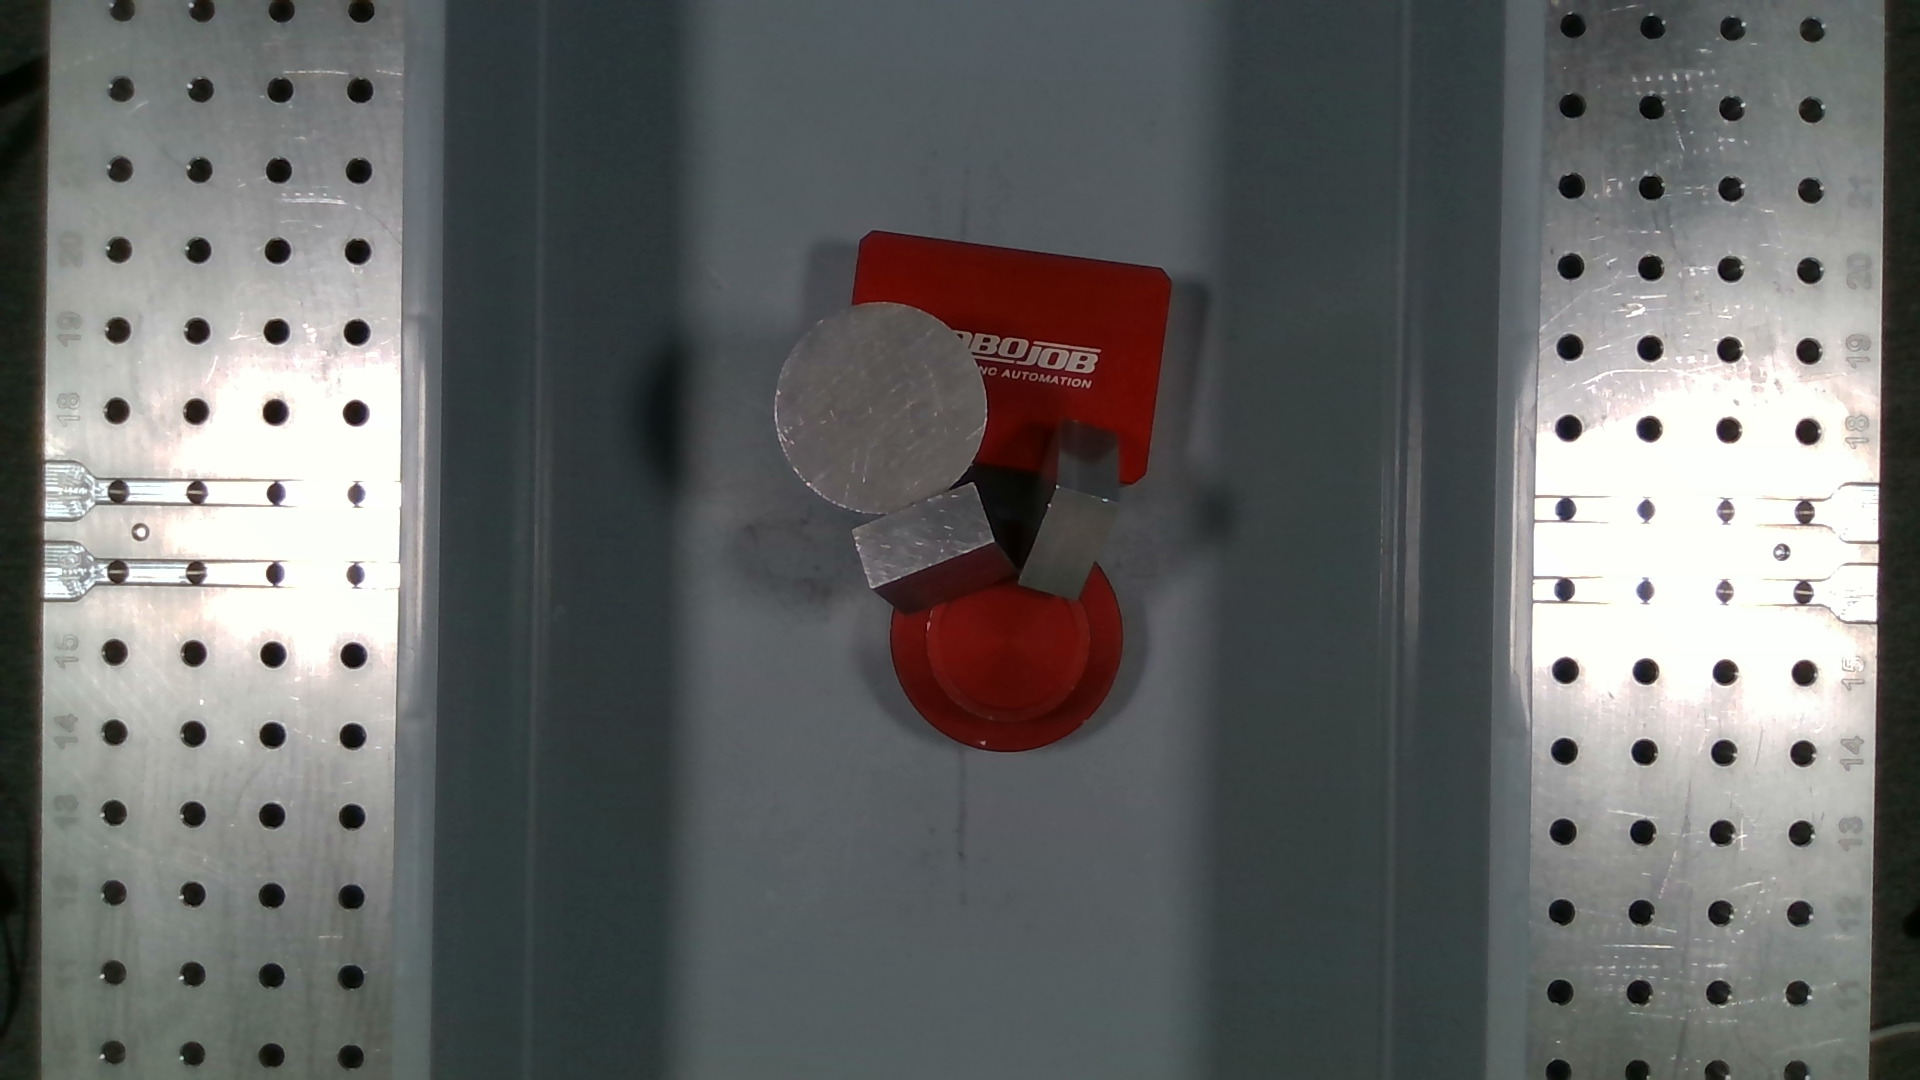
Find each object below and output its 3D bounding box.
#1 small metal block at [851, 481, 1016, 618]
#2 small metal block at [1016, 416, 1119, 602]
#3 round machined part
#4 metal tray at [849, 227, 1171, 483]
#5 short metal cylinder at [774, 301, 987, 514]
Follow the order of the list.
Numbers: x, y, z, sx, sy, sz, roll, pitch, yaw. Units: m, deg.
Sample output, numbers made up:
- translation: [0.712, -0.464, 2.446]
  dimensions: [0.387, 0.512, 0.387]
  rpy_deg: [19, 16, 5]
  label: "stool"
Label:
- translation: [-0.009, 0.005, 0.534]
  dimensions: [0.050, 0.050, 0.025]
  rpy_deg: [-21, 72, 6]
  label: "small metal block"
- translation: [0.043, -0.013, 0.548]
  dimensions: [0.025, 0.050, 0.050]
  rpy_deg: [15, 127, -6]
  label: "small metal block"
- translation: [0.019, 0.041, 0.577]
  dimensions: [0.098, 0.042, 0.098]
  rpy_deg: [0, 90, 0]
  label: "round machined part"
- translation: [0.017, -0.076, 0.581]
  dimensions: [0.130, 0.030, 0.090]
  rpy_deg: [8, 90, 0]
  label: "metal tray"
- translation: [-0.030, -0.050, 0.543]
  dimensions: [0.080, 0.050, 0.080]
  rpy_deg: [0, 90, 0]
  label: "short metal cylinder"
